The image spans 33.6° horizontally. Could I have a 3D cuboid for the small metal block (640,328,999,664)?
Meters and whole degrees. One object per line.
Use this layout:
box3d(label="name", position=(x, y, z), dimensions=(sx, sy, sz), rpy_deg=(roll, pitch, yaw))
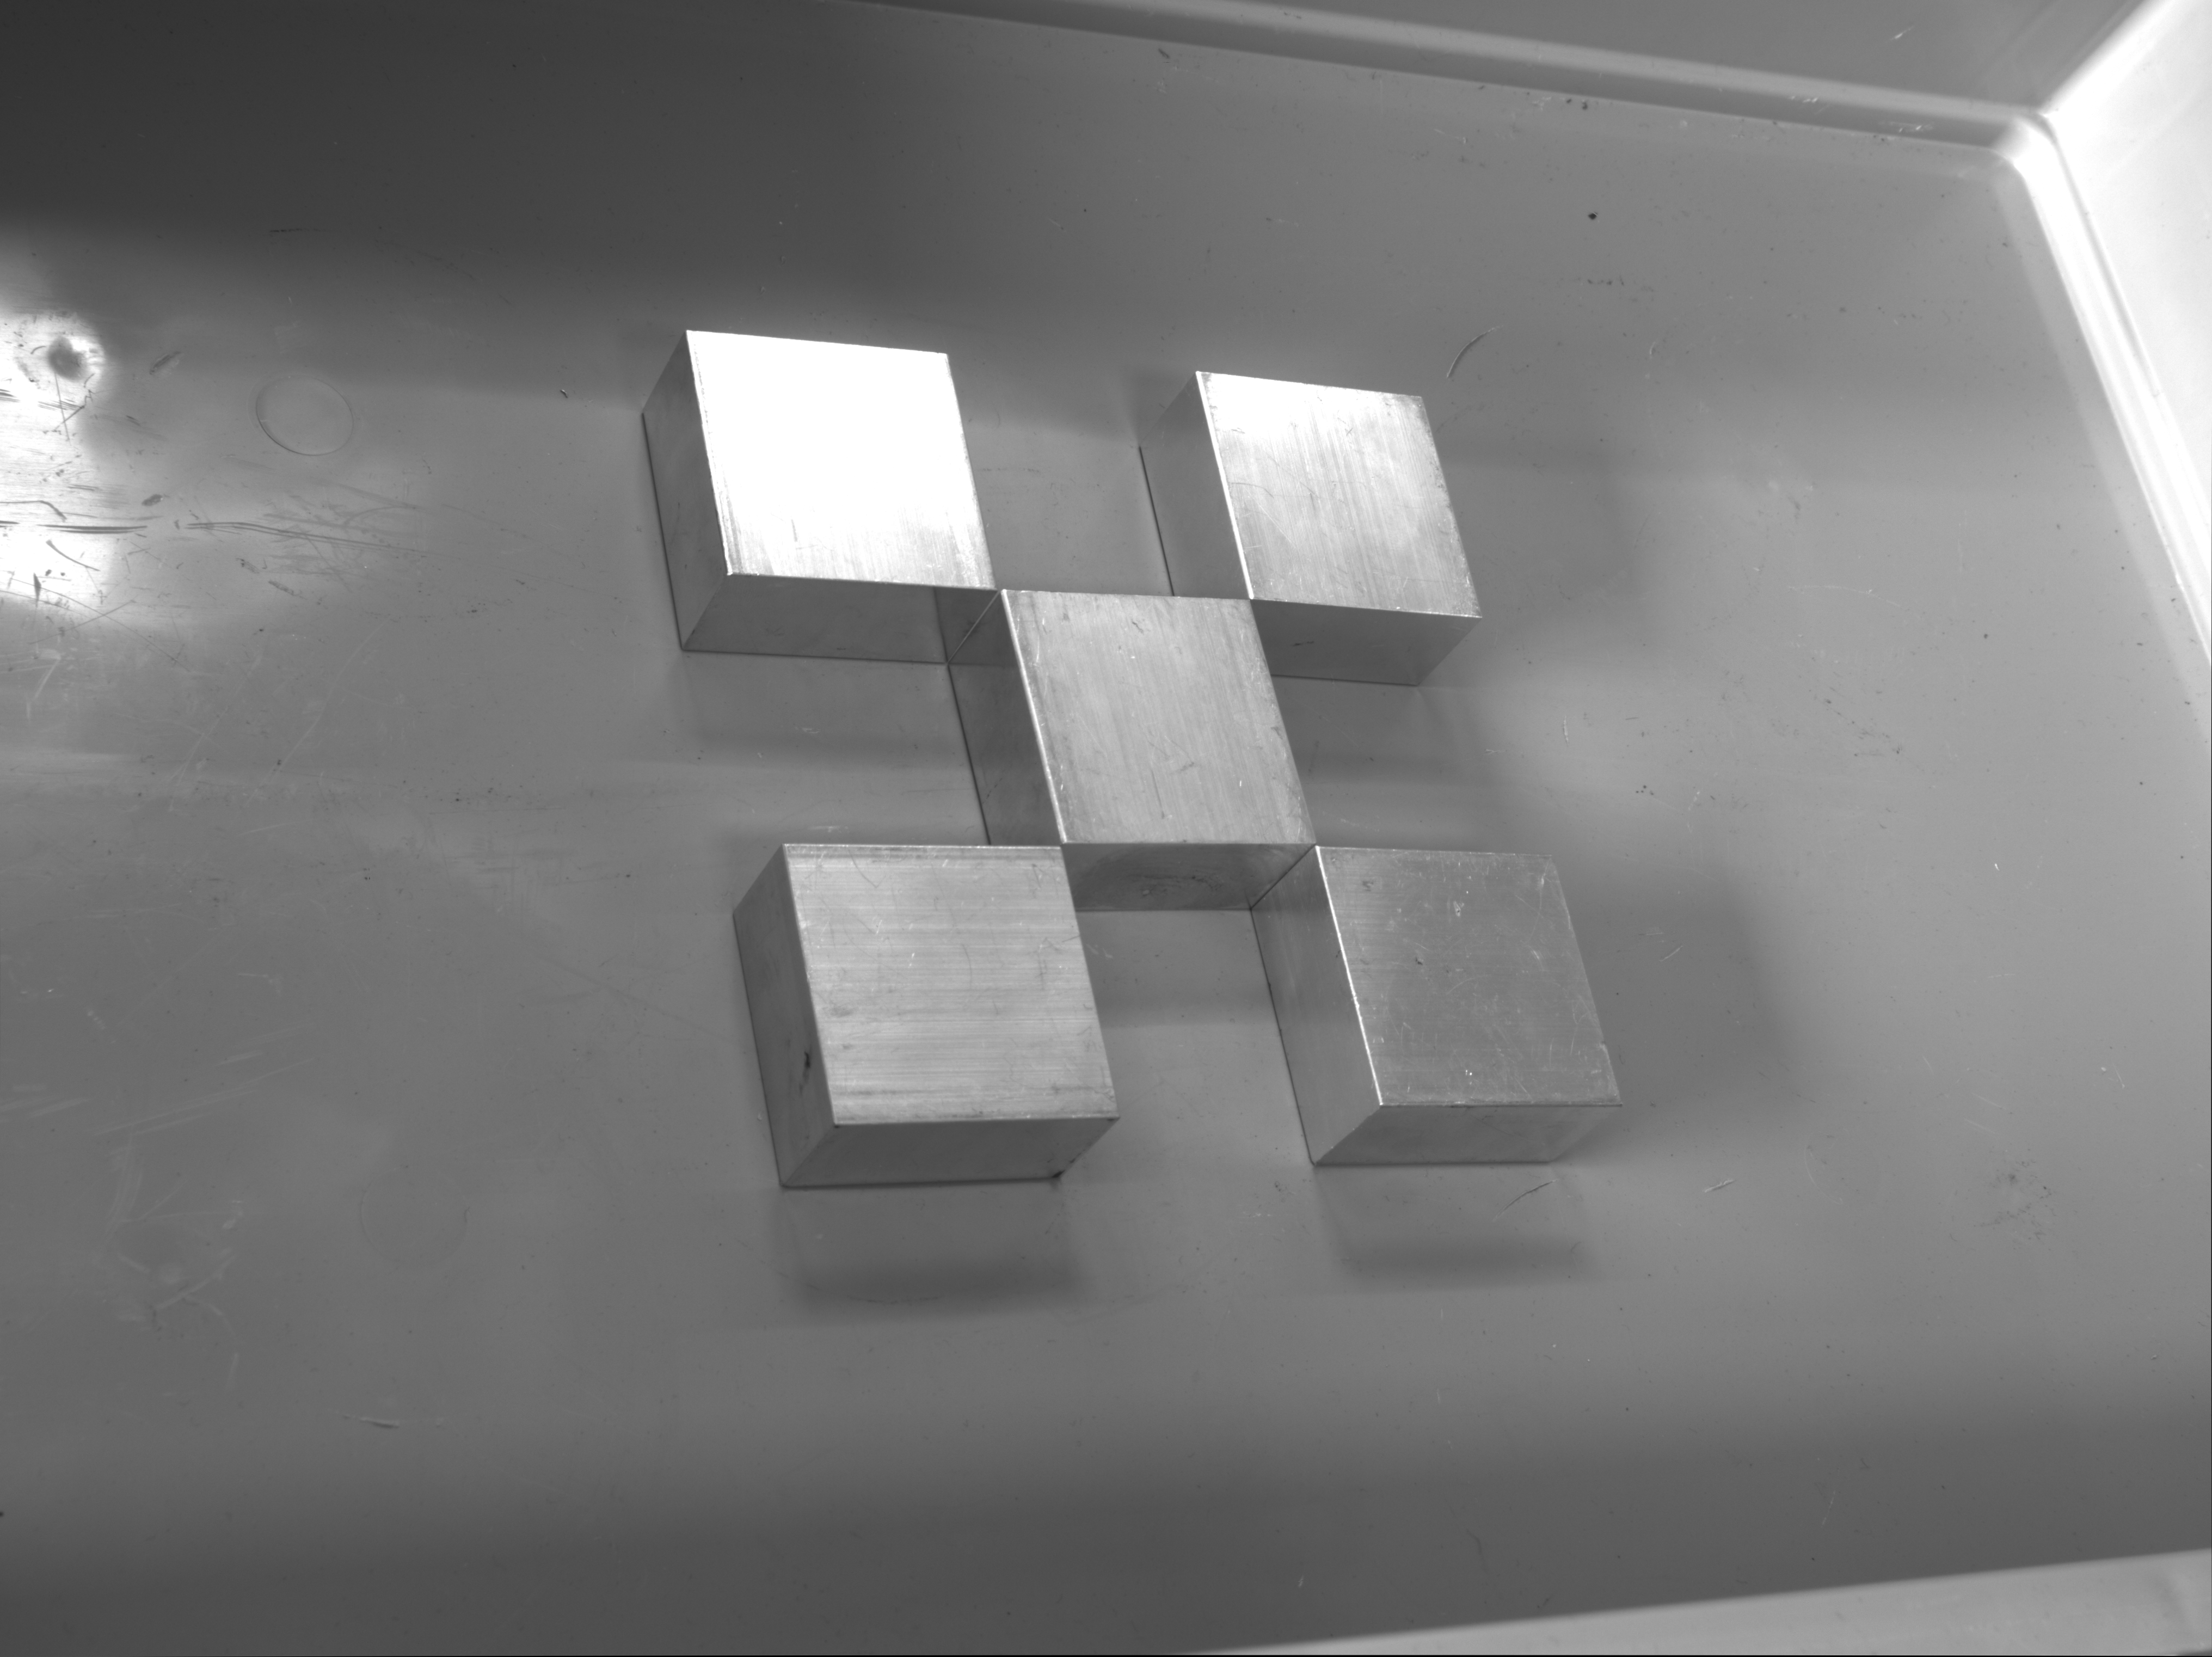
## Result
box3d(label="small metal block", position=(-0.051, -0.058, 0.645), dimensions=(0.050, 0.025, 0.050), rpy_deg=(2, 61, -27))

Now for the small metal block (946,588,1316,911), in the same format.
box3d(label="small metal block", position=(0.004, -0.013, 0.646), dimensions=(0.050, 0.025, 0.050), rpy_deg=(1, 61, -28))

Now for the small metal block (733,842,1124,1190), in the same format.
box3d(label="small metal block", position=(-0.030, 0.030, 0.602), dimensions=(0.050, 0.025, 0.050), rpy_deg=(1, 61, -28))

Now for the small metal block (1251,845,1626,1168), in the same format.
box3d(label="small metal block", position=(0.058, 0.031, 0.648), dimensions=(0.050, 0.025, 0.050), rpy_deg=(1, 61, -27))

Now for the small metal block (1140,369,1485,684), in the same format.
box3d(label="small metal block", position=(0.039, -0.057, 0.691), dimensions=(0.050, 0.025, 0.050), rpy_deg=(3, 60, -27))
